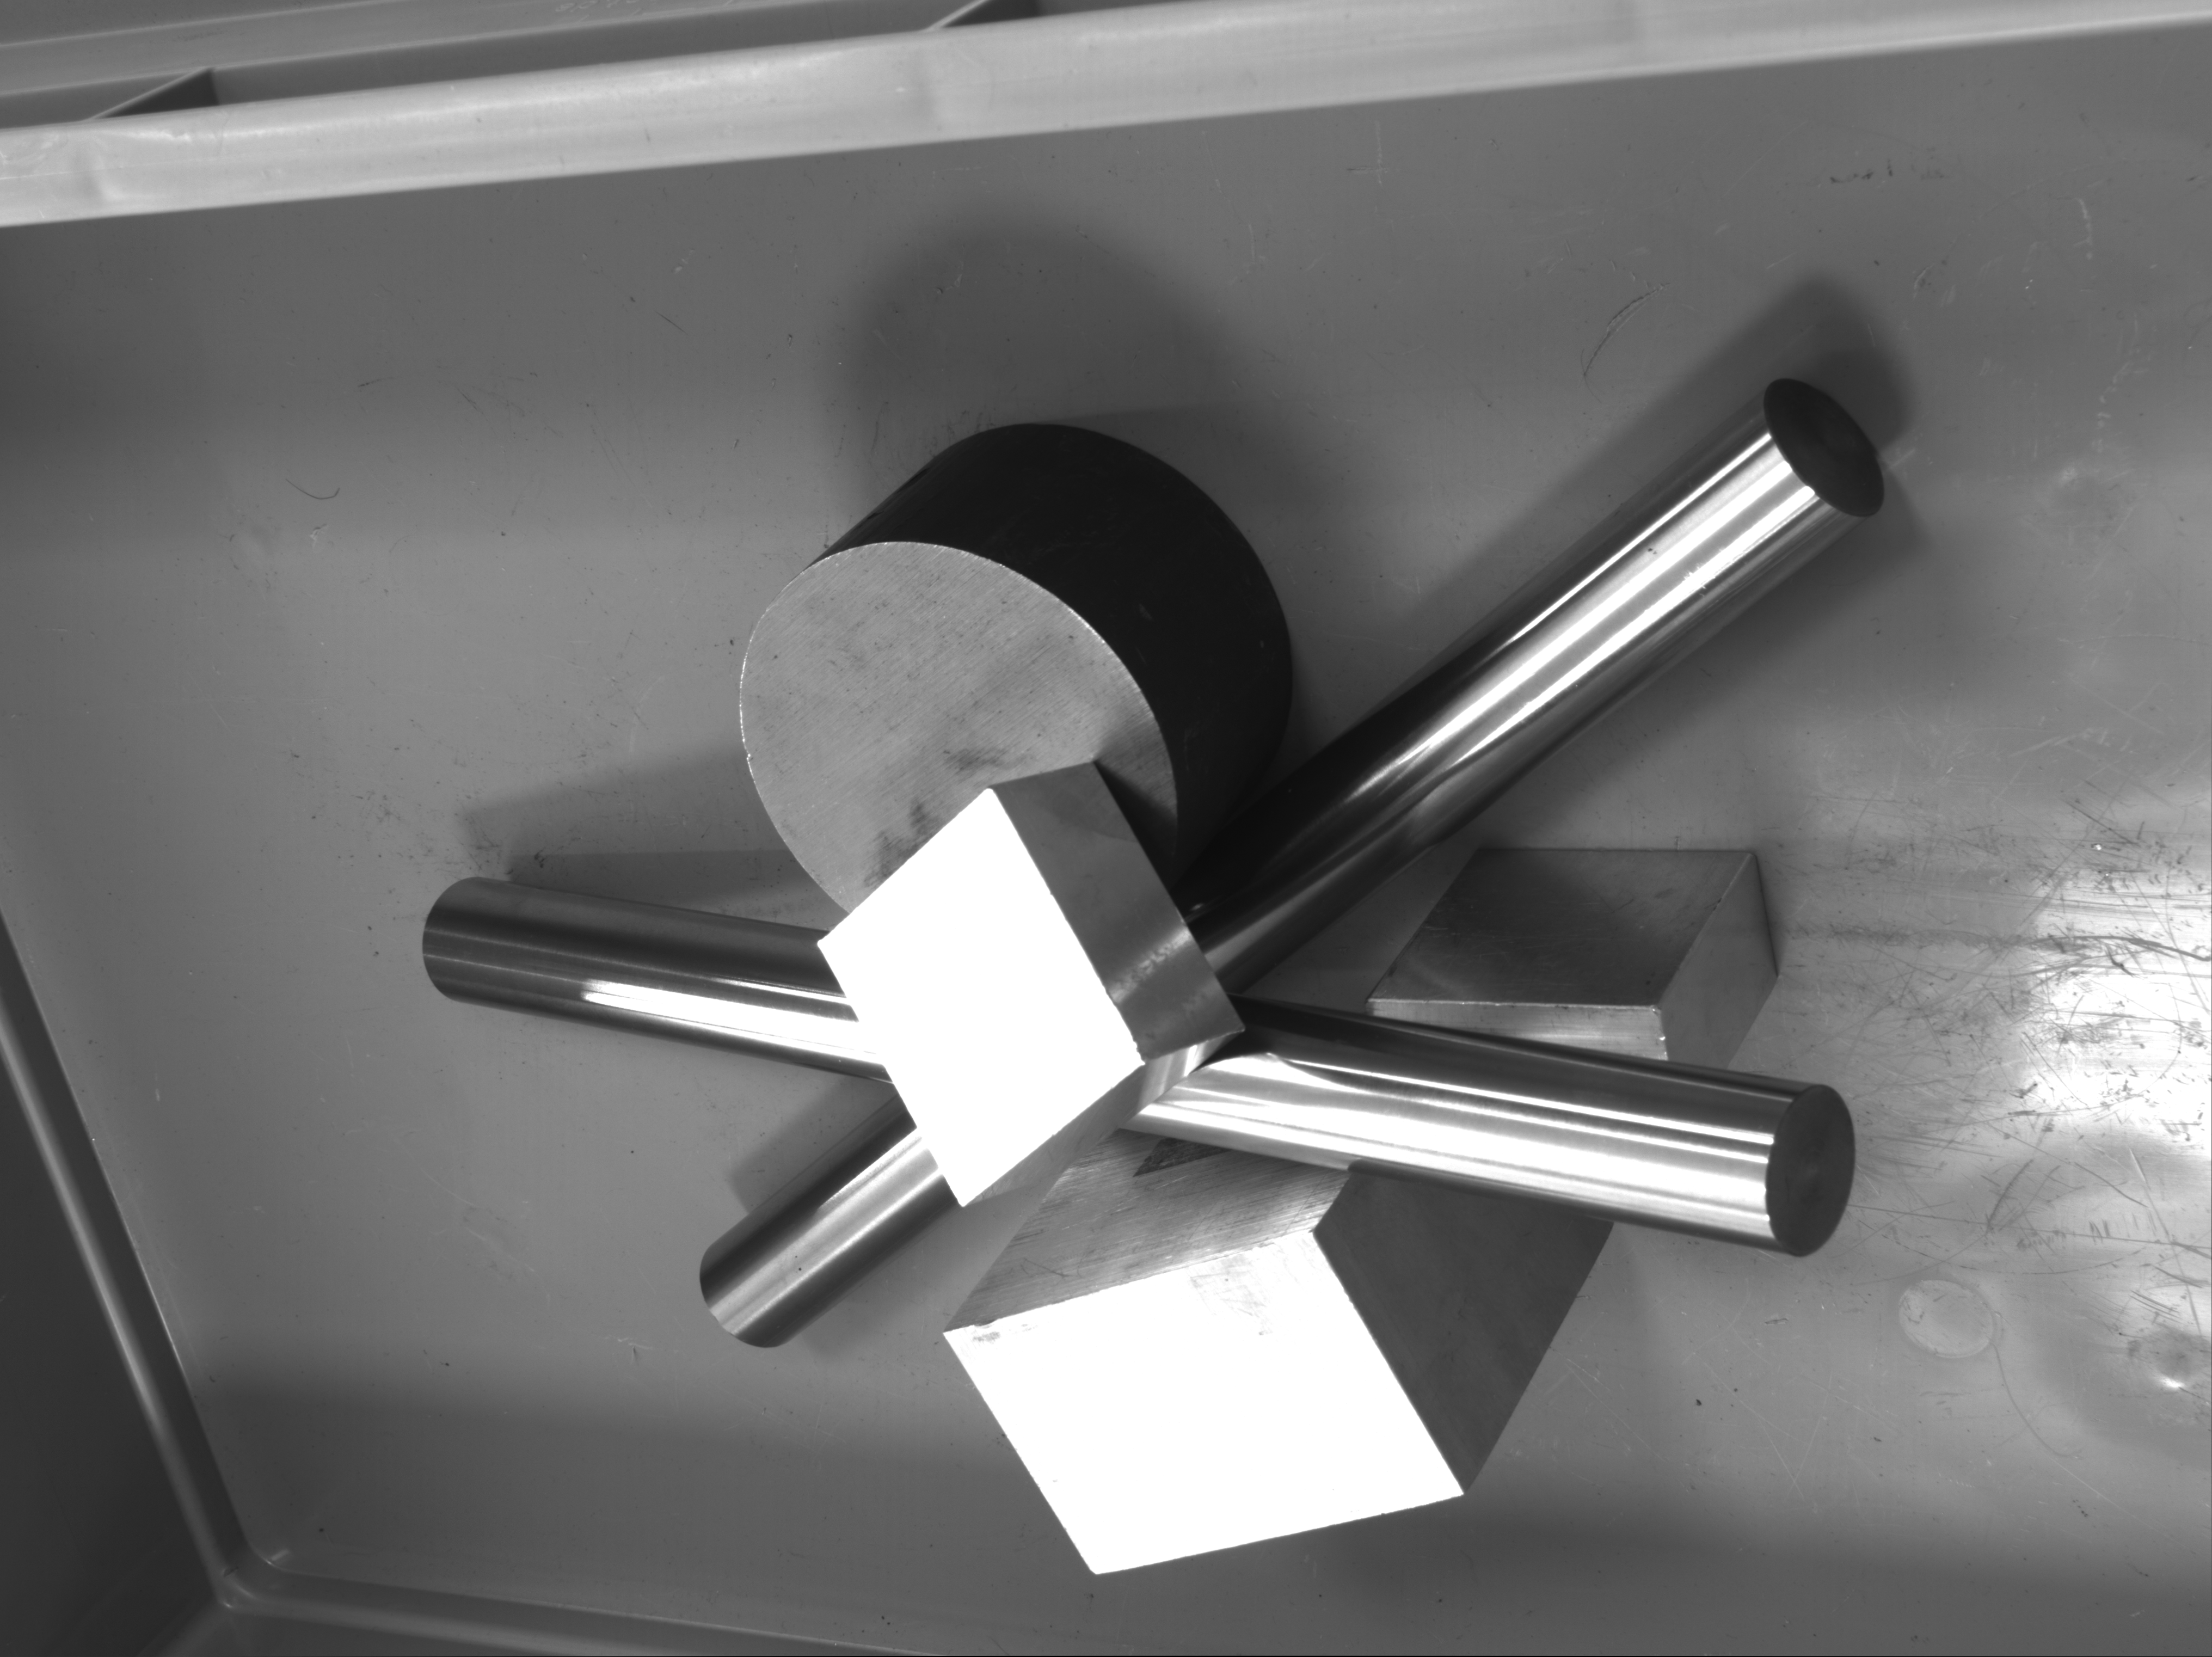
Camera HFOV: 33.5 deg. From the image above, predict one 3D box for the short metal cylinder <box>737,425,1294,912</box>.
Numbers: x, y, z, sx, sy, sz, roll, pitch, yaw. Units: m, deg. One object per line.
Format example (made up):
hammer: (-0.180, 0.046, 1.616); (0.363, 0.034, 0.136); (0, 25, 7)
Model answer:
short metal cylinder: (-0.015, -0.021, 0.620); (0.080, 0.050, 0.080); (13, 123, 21)

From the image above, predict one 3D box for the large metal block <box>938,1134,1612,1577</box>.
large metal block: (0.031, 0.078, 0.636); (0.080, 0.080, 0.050); (-20, 108, 36)

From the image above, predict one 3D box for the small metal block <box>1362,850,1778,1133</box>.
small metal block: (0.077, 0.027, 0.601); (0.050, 0.050, 0.025); (1, 118, 29)

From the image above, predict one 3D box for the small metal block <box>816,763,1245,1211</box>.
small metal block: (-0.013, 0.025, 0.589); (0.050, 0.025, 0.050); (-41, 72, 39)

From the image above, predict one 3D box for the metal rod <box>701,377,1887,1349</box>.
metal rod: (0.019, 0.018, 0.643); (0.025, 0.025, 0.299); (47, 129, -4)

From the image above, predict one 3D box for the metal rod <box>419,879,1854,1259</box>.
metal rod: (-0.012, 0.036, 0.624); (0.299, 0.025, 0.025); (7, 122, 40)
